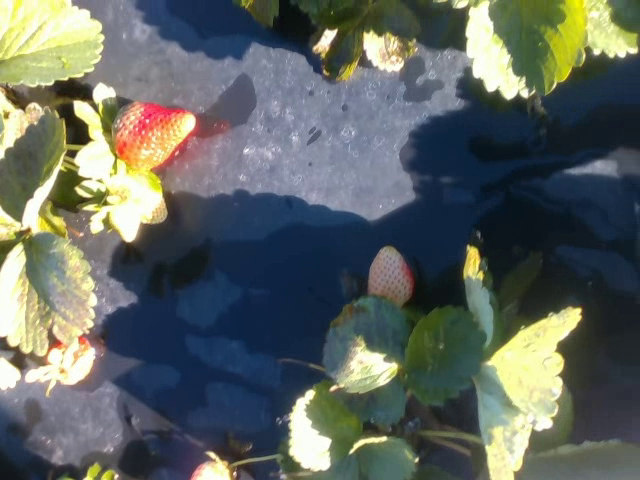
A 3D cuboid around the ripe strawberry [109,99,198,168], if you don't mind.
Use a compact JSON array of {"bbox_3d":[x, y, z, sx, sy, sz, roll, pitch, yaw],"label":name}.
[{"bbox_3d":[-0.101,-0.068,0.398,0.064,0.052,0.050,-16,-51,23],"label":"ripe strawberry"}]
